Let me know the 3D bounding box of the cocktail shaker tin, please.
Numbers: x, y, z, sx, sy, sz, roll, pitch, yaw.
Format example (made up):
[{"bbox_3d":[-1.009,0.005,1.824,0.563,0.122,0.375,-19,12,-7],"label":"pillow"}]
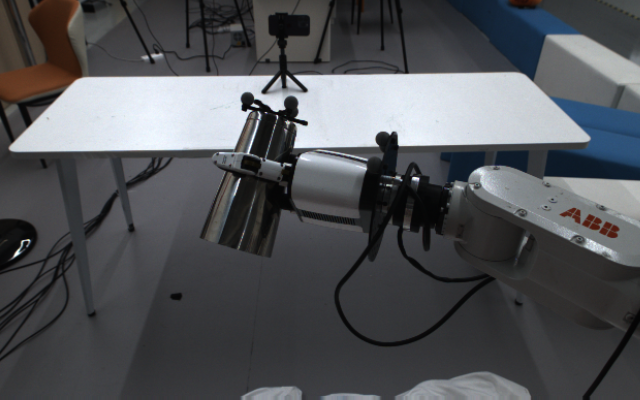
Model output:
[{"bbox_3d":[-0.084,-0.021,0.616,0.093,0.170,0.093,15,-6,2],"label":"cocktail shaker tin"}]
